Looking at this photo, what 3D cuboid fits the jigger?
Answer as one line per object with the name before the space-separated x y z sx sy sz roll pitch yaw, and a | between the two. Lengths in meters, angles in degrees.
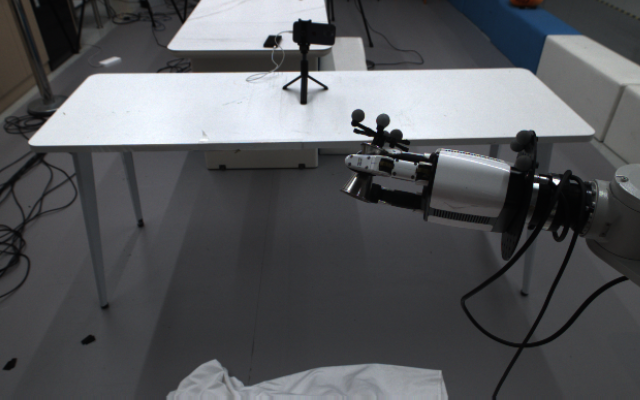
jigger | 0.056 -0.038 0.622 0.043 0.071 0.043 25 -2 1
